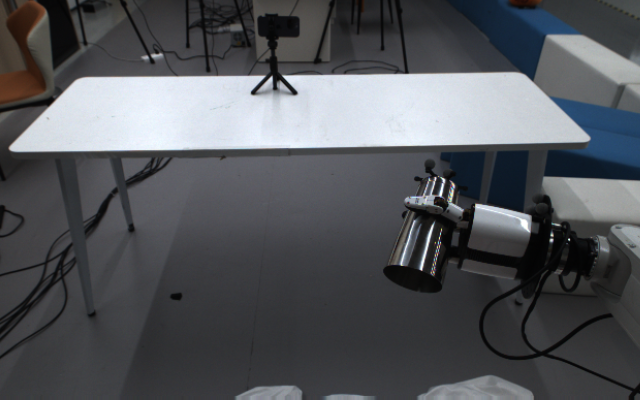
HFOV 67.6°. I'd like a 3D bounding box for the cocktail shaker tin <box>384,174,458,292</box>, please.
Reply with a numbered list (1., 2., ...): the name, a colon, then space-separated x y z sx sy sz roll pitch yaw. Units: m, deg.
1. cocktail shaker tin: 0.169 0.048 0.760 0.093 0.093 0.170 14 62 17
